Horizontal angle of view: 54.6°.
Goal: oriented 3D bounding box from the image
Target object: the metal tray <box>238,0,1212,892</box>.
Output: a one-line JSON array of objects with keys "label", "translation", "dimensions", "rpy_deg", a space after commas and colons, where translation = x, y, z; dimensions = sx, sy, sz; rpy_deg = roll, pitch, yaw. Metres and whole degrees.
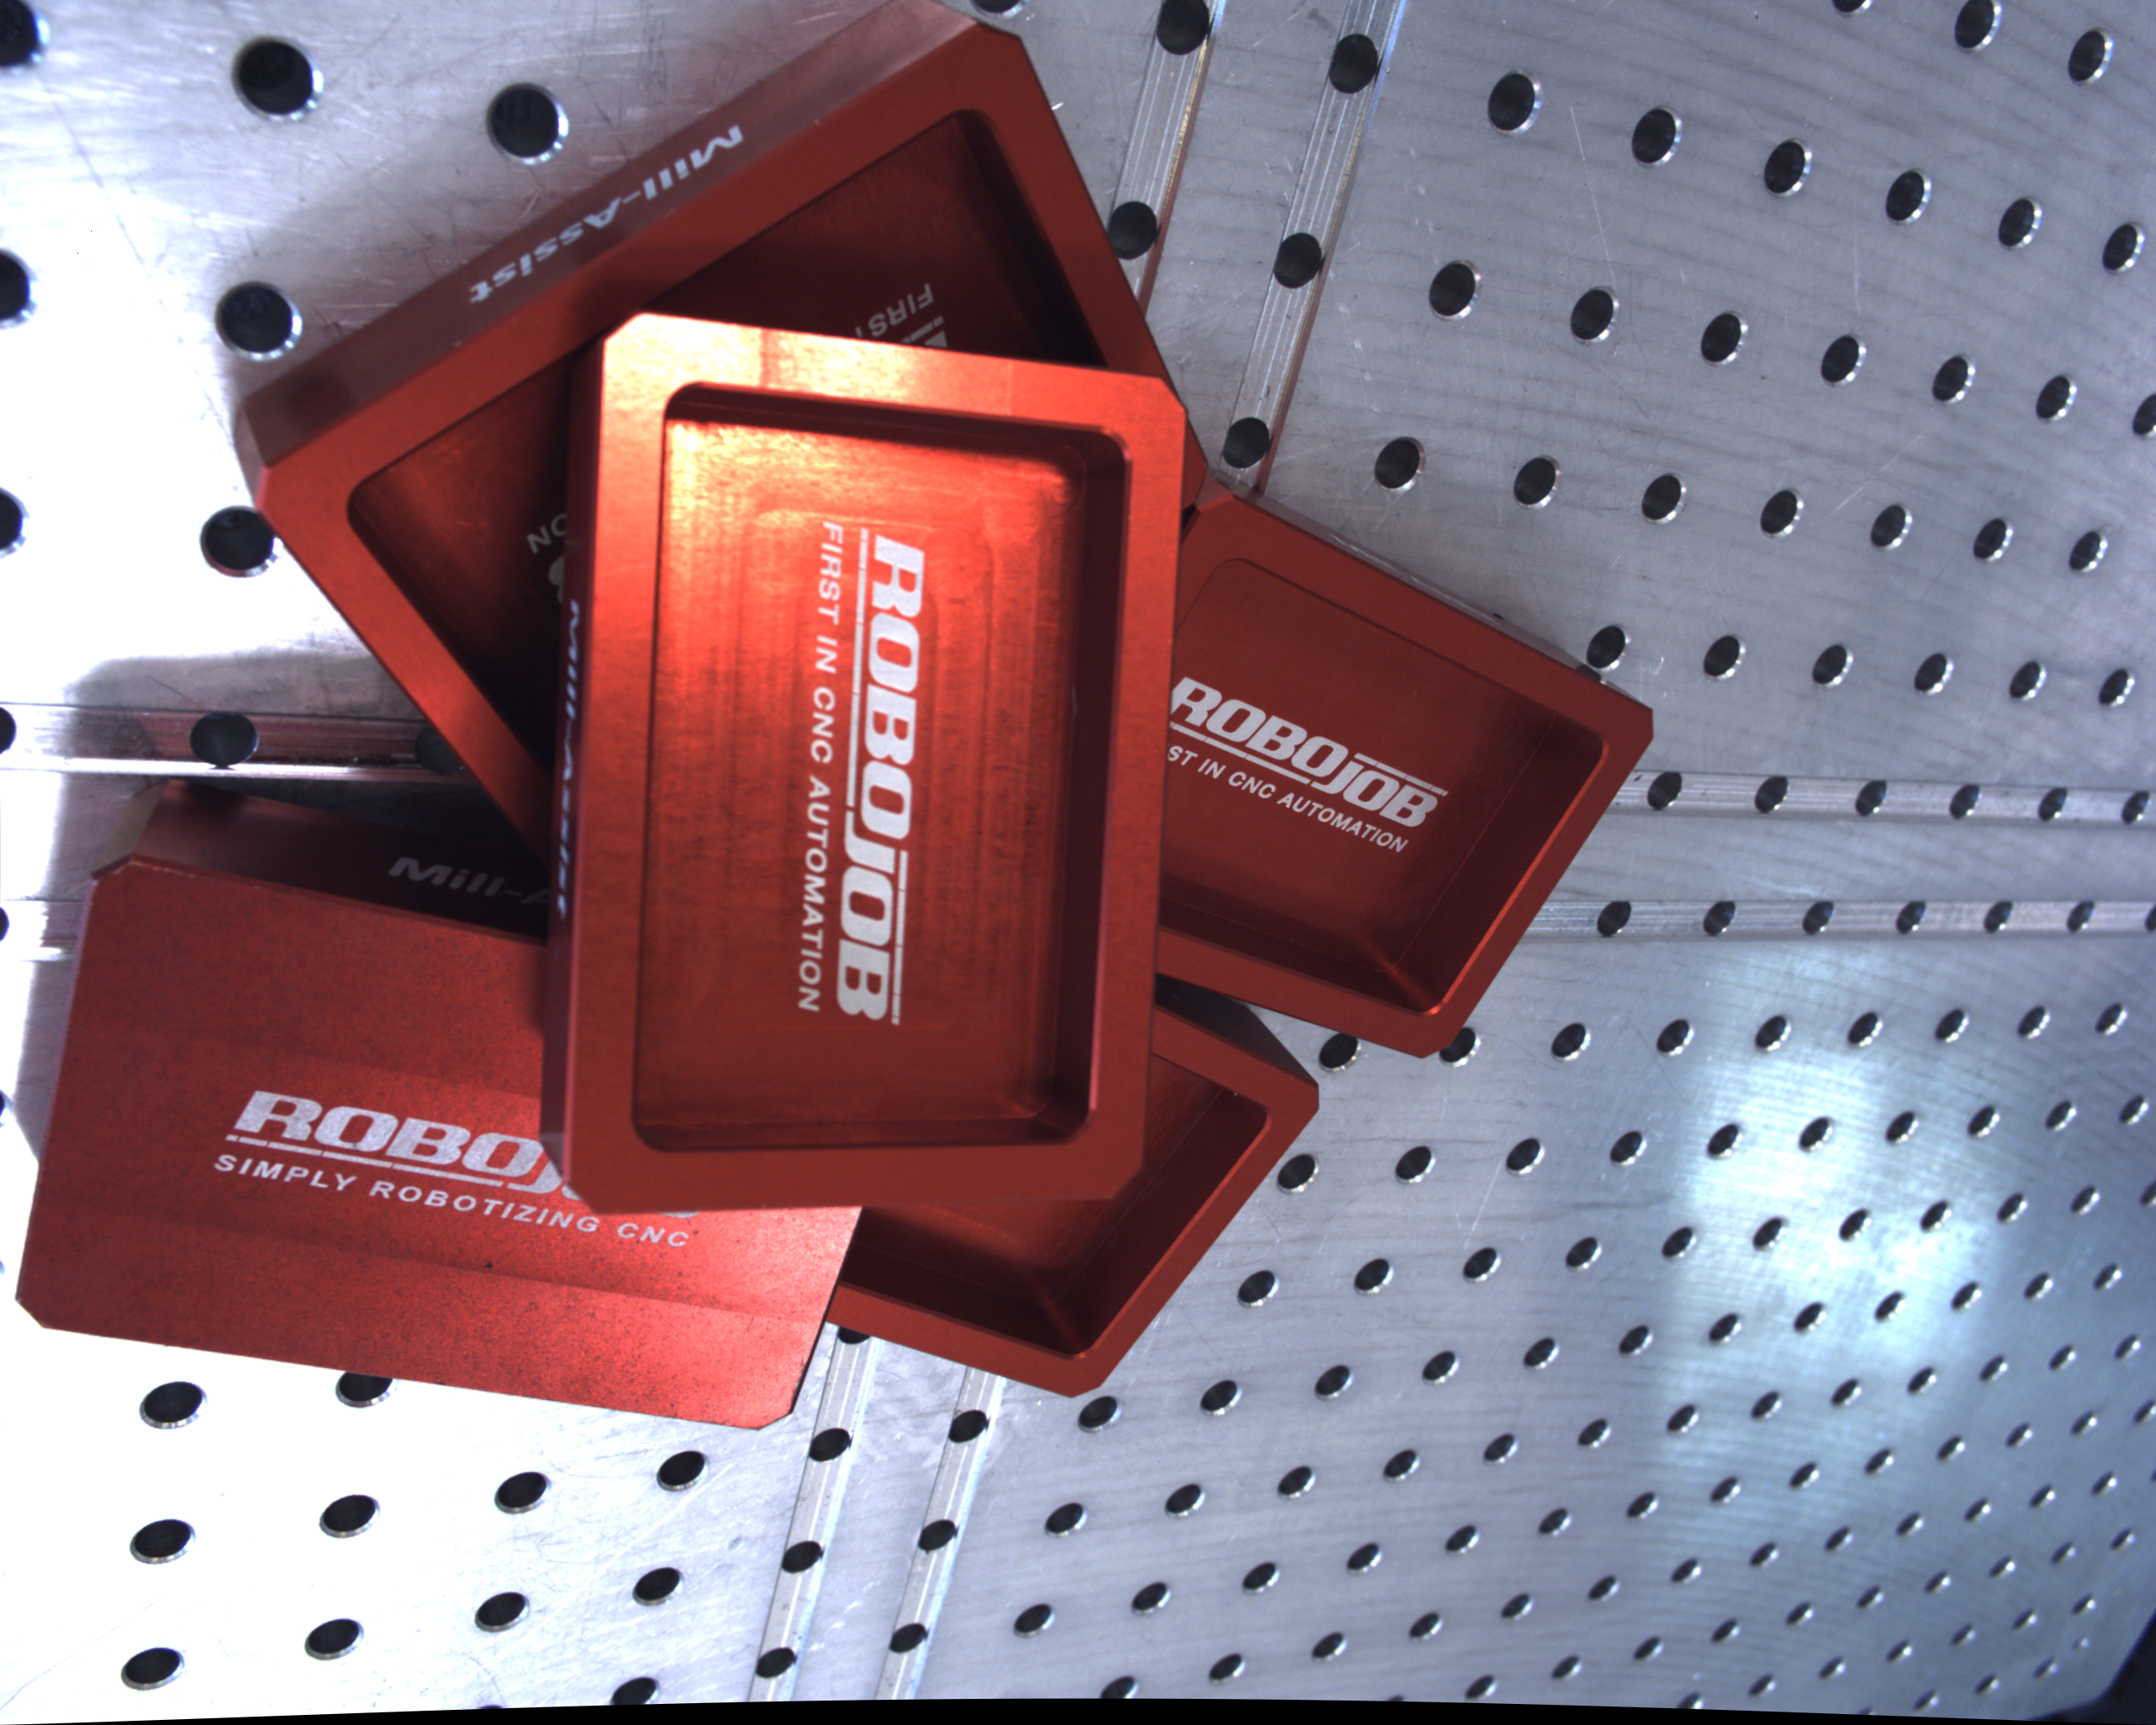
[{"label": "metal tray", "translation": [-0.052, -0.065, 0.337], "dimensions": [0.130, 0.030, 0.090], "rpy_deg": [-34, 128, -6]}]

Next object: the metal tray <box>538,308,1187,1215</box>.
[{"label": "metal tray", "translation": [-0.034, -0.014, 0.325], "dimensions": [0.091, 0.030, 0.129], "rpy_deg": [2, 93, -21]}]

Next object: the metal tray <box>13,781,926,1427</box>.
[{"label": "metal tray", "translation": [-0.102, 0.045, 0.358], "dimensions": [0.131, 0.030, 0.089], "rpy_deg": [13, 113, -19]}]

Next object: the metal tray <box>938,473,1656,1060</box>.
[{"label": "metal tray", "translation": [0.045, -0.017, 0.420], "dimensions": [0.131, 0.030, 0.090], "rpy_deg": [19, 109, -36]}]

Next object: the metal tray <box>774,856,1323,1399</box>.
[{"label": "metal tray", "translation": [-0.022, 0.054, 0.427], "dimensions": [0.131, 0.030, 0.090], "rpy_deg": [28, 103, -38]}]
